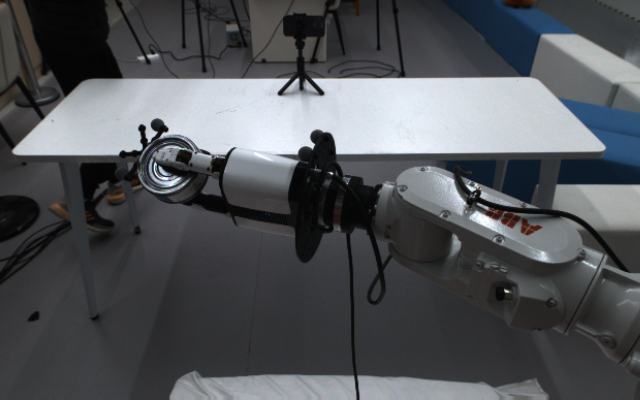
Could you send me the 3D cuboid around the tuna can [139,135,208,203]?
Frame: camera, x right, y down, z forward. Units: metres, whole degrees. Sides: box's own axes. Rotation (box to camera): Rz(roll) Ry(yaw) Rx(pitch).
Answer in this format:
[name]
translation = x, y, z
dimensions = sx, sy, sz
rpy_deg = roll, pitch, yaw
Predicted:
[tuna can]
translation = -0.188, -0.040, 0.628
dimensions = 0.085, 0.034, 0.085
rpy_deg = -1, 74, 5
